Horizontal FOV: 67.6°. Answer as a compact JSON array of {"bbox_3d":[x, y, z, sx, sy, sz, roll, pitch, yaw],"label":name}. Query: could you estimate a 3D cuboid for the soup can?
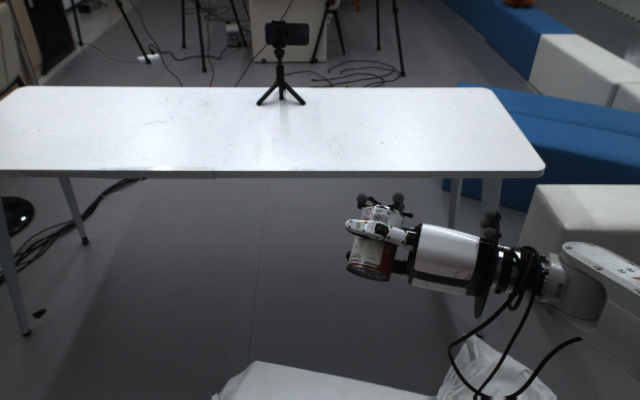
[{"bbox_3d":[0.087,0.065,0.737,0.067,0.067,0.101,12,70,14],"label":"soup can"}]
